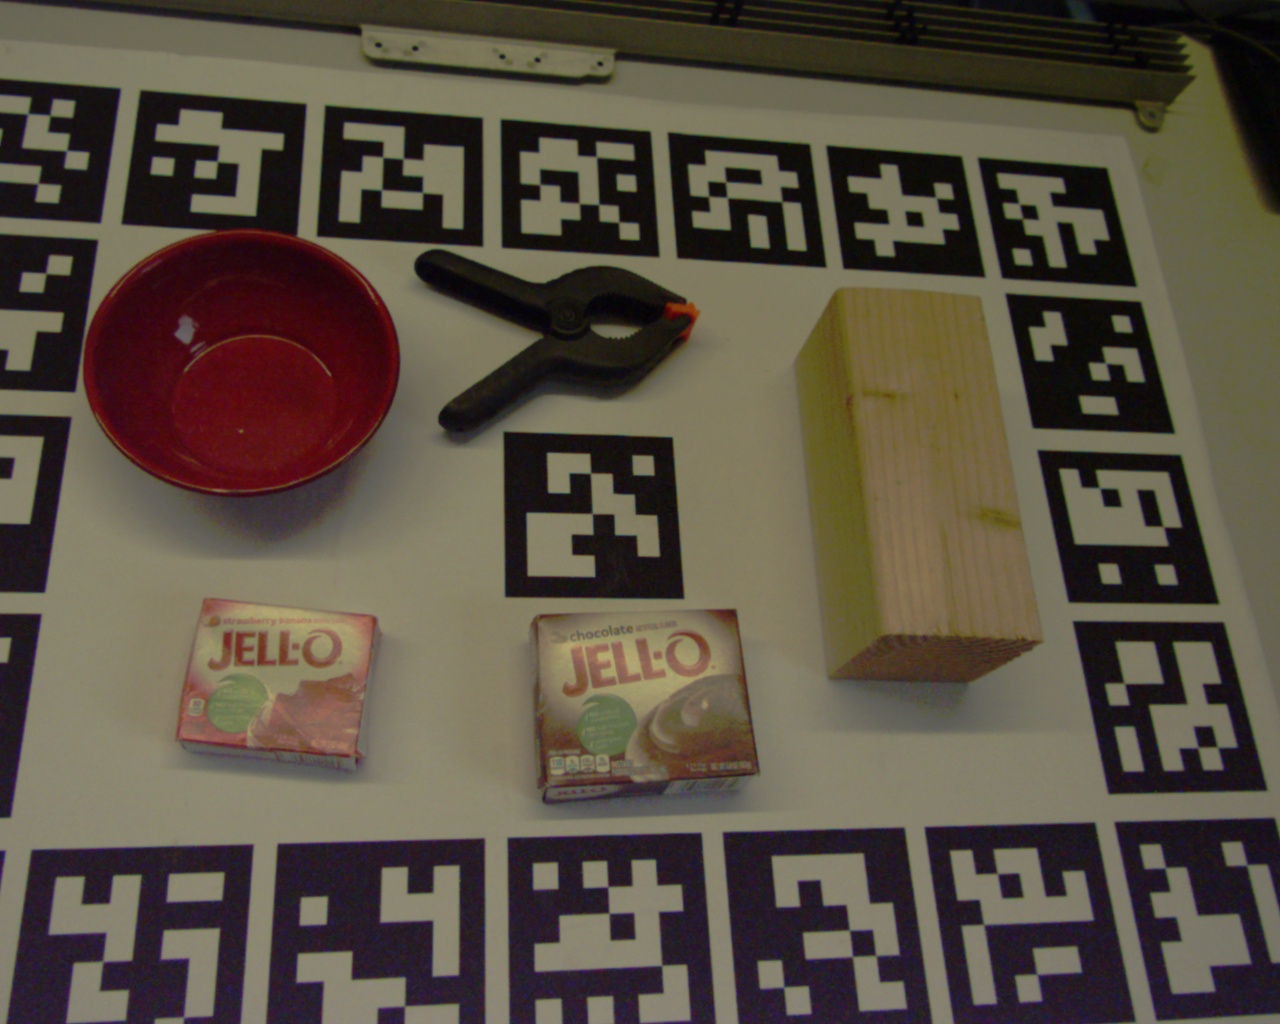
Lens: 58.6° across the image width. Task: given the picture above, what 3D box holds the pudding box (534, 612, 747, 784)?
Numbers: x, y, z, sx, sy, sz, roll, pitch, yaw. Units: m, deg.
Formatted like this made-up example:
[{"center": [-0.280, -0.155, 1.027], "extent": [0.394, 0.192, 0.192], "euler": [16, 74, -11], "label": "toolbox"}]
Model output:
[{"center": [-0.002, 0.103, 0.635], "extent": [0.113, 0.039, 0.090], "euler": [-1, 73, -8], "label": "pudding box"}]

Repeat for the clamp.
[{"center": [-0.065, -0.105, 0.716], "extent": [0.164, 0.037, 0.122], "euler": [-9, 70, -16], "label": "clamp"}]

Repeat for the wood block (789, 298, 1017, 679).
[{"center": [0.152, -0.012, 0.680], "extent": [0.089, 0.091, 0.207], "euler": [4, 68, -11], "label": "wood block"}]

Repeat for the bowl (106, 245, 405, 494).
[{"center": [-0.219, -0.072, 0.662], "extent": [0.161, 0.055, 0.162], "euler": [3, 71, -11], "label": "bowl"}]

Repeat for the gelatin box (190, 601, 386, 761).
[{"center": [-0.186, 0.090, 0.609], "extent": [0.089, 0.030, 0.073], "euler": [8, 69, -7], "label": "gelatin box"}]
